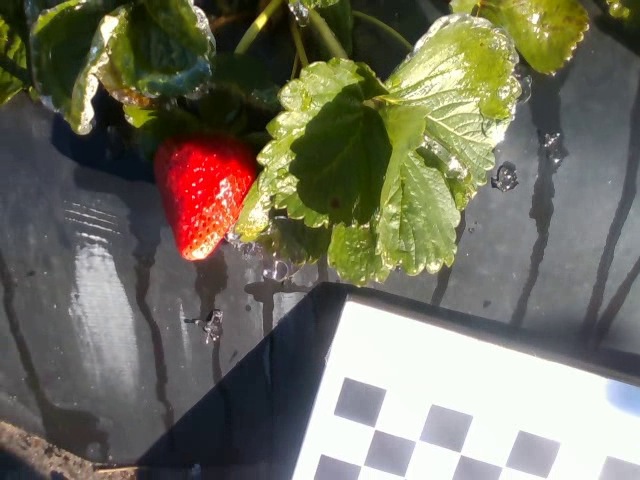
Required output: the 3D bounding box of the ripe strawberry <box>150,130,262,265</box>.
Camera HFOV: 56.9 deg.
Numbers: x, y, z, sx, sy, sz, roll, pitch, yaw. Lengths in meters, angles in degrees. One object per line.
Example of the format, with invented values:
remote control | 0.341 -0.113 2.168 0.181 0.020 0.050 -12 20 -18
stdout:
ripe strawberry | -0.044 -0.014 0.216 0.041 0.053 0.047 11 -25 4
